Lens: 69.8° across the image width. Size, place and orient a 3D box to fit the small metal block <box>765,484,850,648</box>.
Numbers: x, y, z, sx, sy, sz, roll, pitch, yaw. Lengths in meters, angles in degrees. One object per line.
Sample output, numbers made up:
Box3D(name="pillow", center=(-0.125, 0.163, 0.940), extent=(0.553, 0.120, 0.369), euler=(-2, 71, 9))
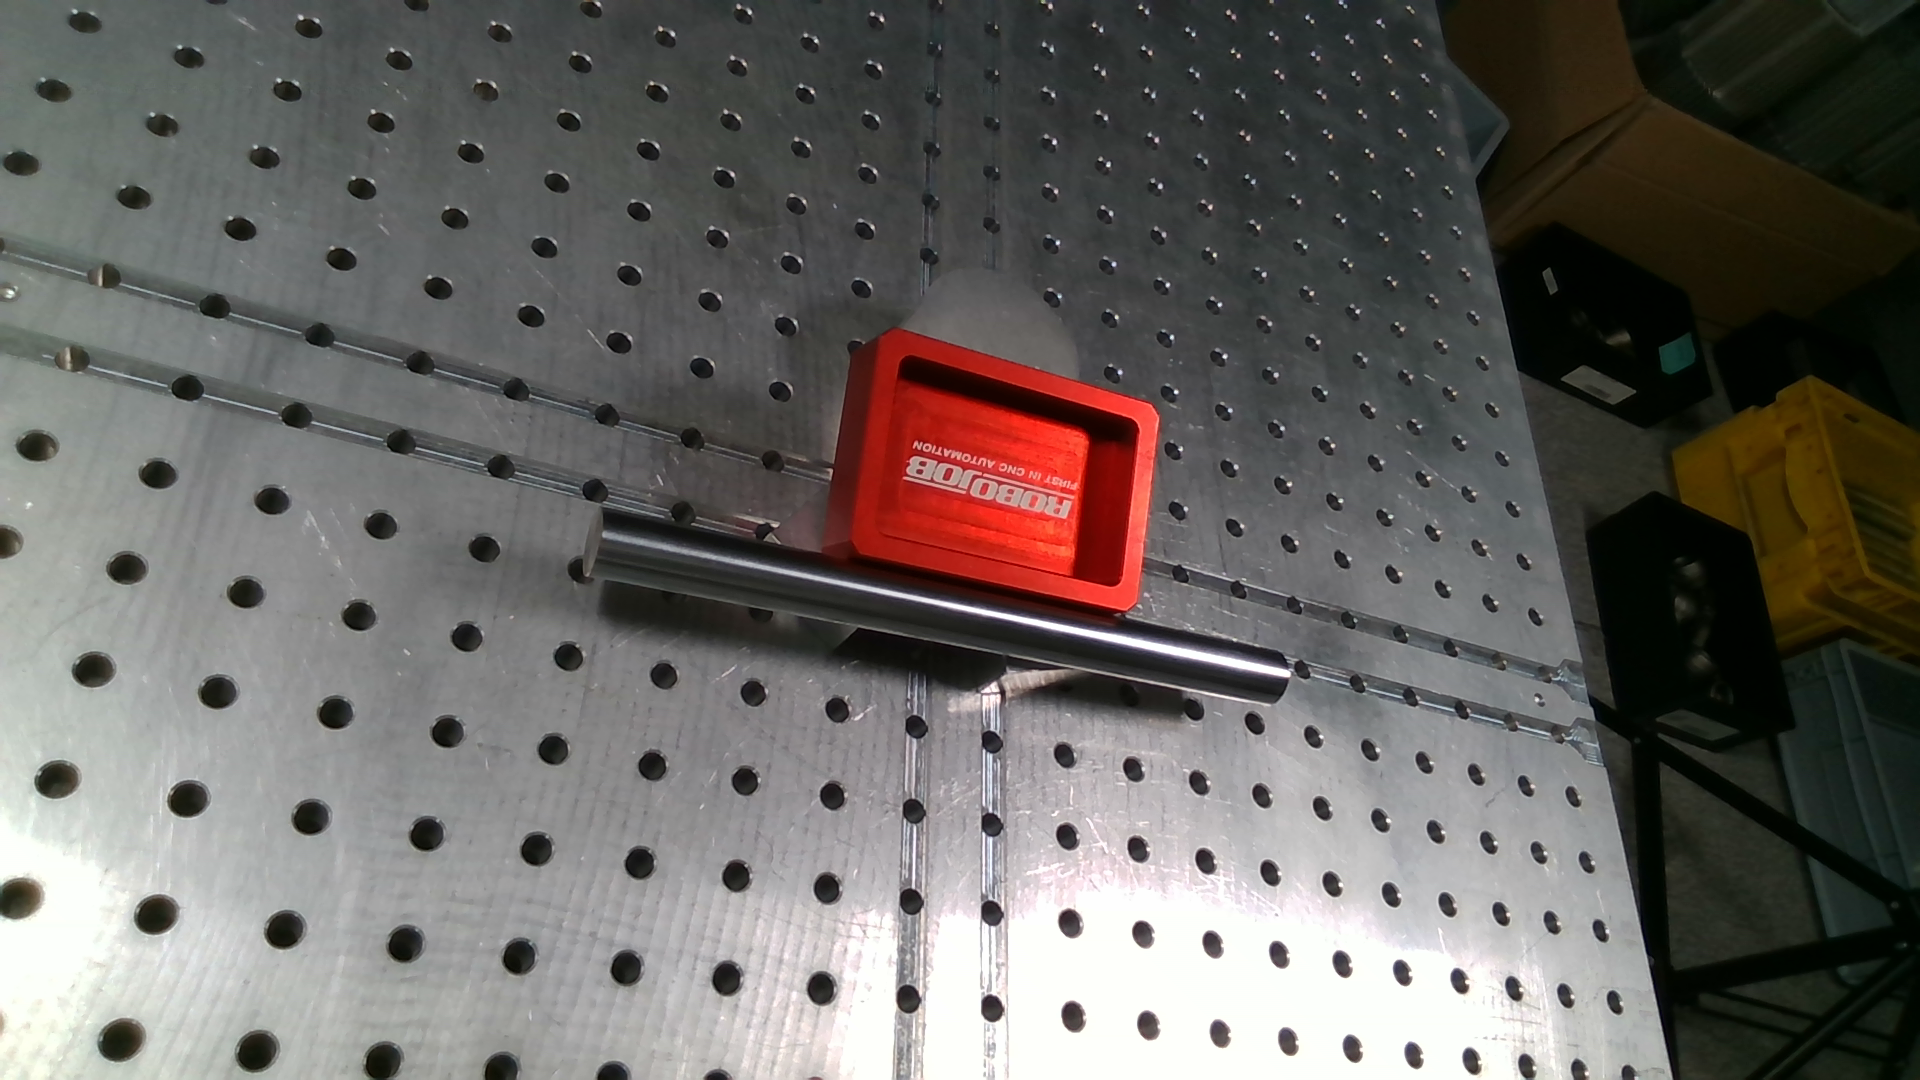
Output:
Box3D(name="small metal block", center=(-0.049, 0.006, 0.555), extent=(0.050, 0.025, 0.050), euler=(47, 51, -2))

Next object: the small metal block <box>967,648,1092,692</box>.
Box3D(name="small metal block", center=(0.029, 0.035, 0.588), extent=(0.050, 0.025, 0.050), euler=(-1, 66, -32))

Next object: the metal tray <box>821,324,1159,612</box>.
Box3D(name="metal tray", center=(0.015, -0.025, 0.557), extent=(0.130, 0.030, 0.090), euler=(13, 79, -26))

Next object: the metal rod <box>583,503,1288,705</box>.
Box3D(name="metal rod", center=(0.005, 0.030, 0.543), extent=(0.300, 0.025, 0.025), euler=(13, 59, -26))

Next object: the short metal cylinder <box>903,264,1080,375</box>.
Box3D(name="short metal cylinder", center=(0.007, -0.075, 0.617), extent=(0.080, 0.050, 0.080), euler=(14, 59, -25))
